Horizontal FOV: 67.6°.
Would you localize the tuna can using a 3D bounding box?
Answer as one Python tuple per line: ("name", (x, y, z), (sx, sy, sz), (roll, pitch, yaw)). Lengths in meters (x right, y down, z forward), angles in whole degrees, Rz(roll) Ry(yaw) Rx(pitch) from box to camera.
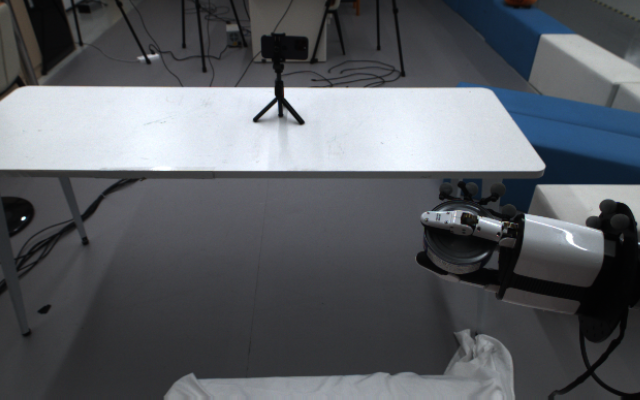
("tuna can", (0.168, 0.040, 0.580), (0.085, 0.034, 0.085), (-4, 54, 6))
